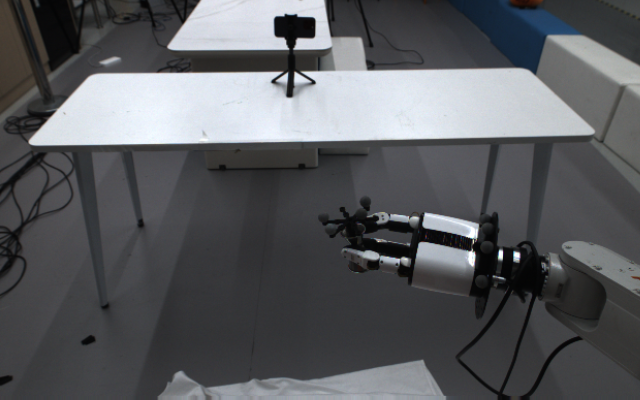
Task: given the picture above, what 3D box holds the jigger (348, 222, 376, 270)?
[{"bbox_3d":[0.059,0.073,0.755,0.043,0.071,0.043,-12,29,7],"label":"jigger"}]
